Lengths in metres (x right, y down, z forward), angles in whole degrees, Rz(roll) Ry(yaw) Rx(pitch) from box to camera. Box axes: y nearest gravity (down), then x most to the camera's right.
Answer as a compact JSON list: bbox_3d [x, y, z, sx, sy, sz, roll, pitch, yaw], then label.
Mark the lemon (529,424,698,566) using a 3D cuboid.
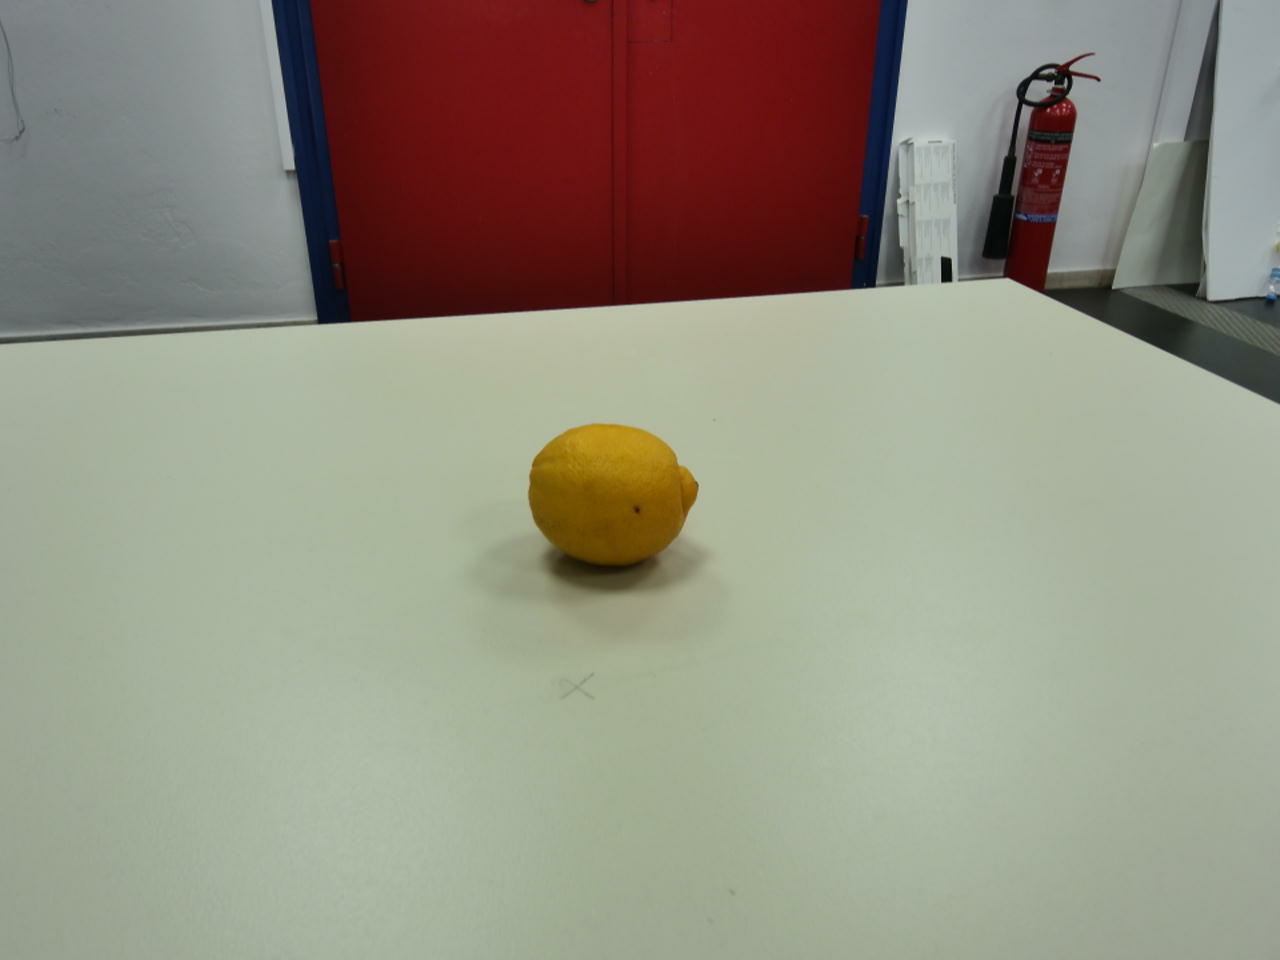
[{"bbox_3d":[-0.013,0.007,0.423,0.067,0.059,0.060,14,27,26],"label":"lemon"}]
